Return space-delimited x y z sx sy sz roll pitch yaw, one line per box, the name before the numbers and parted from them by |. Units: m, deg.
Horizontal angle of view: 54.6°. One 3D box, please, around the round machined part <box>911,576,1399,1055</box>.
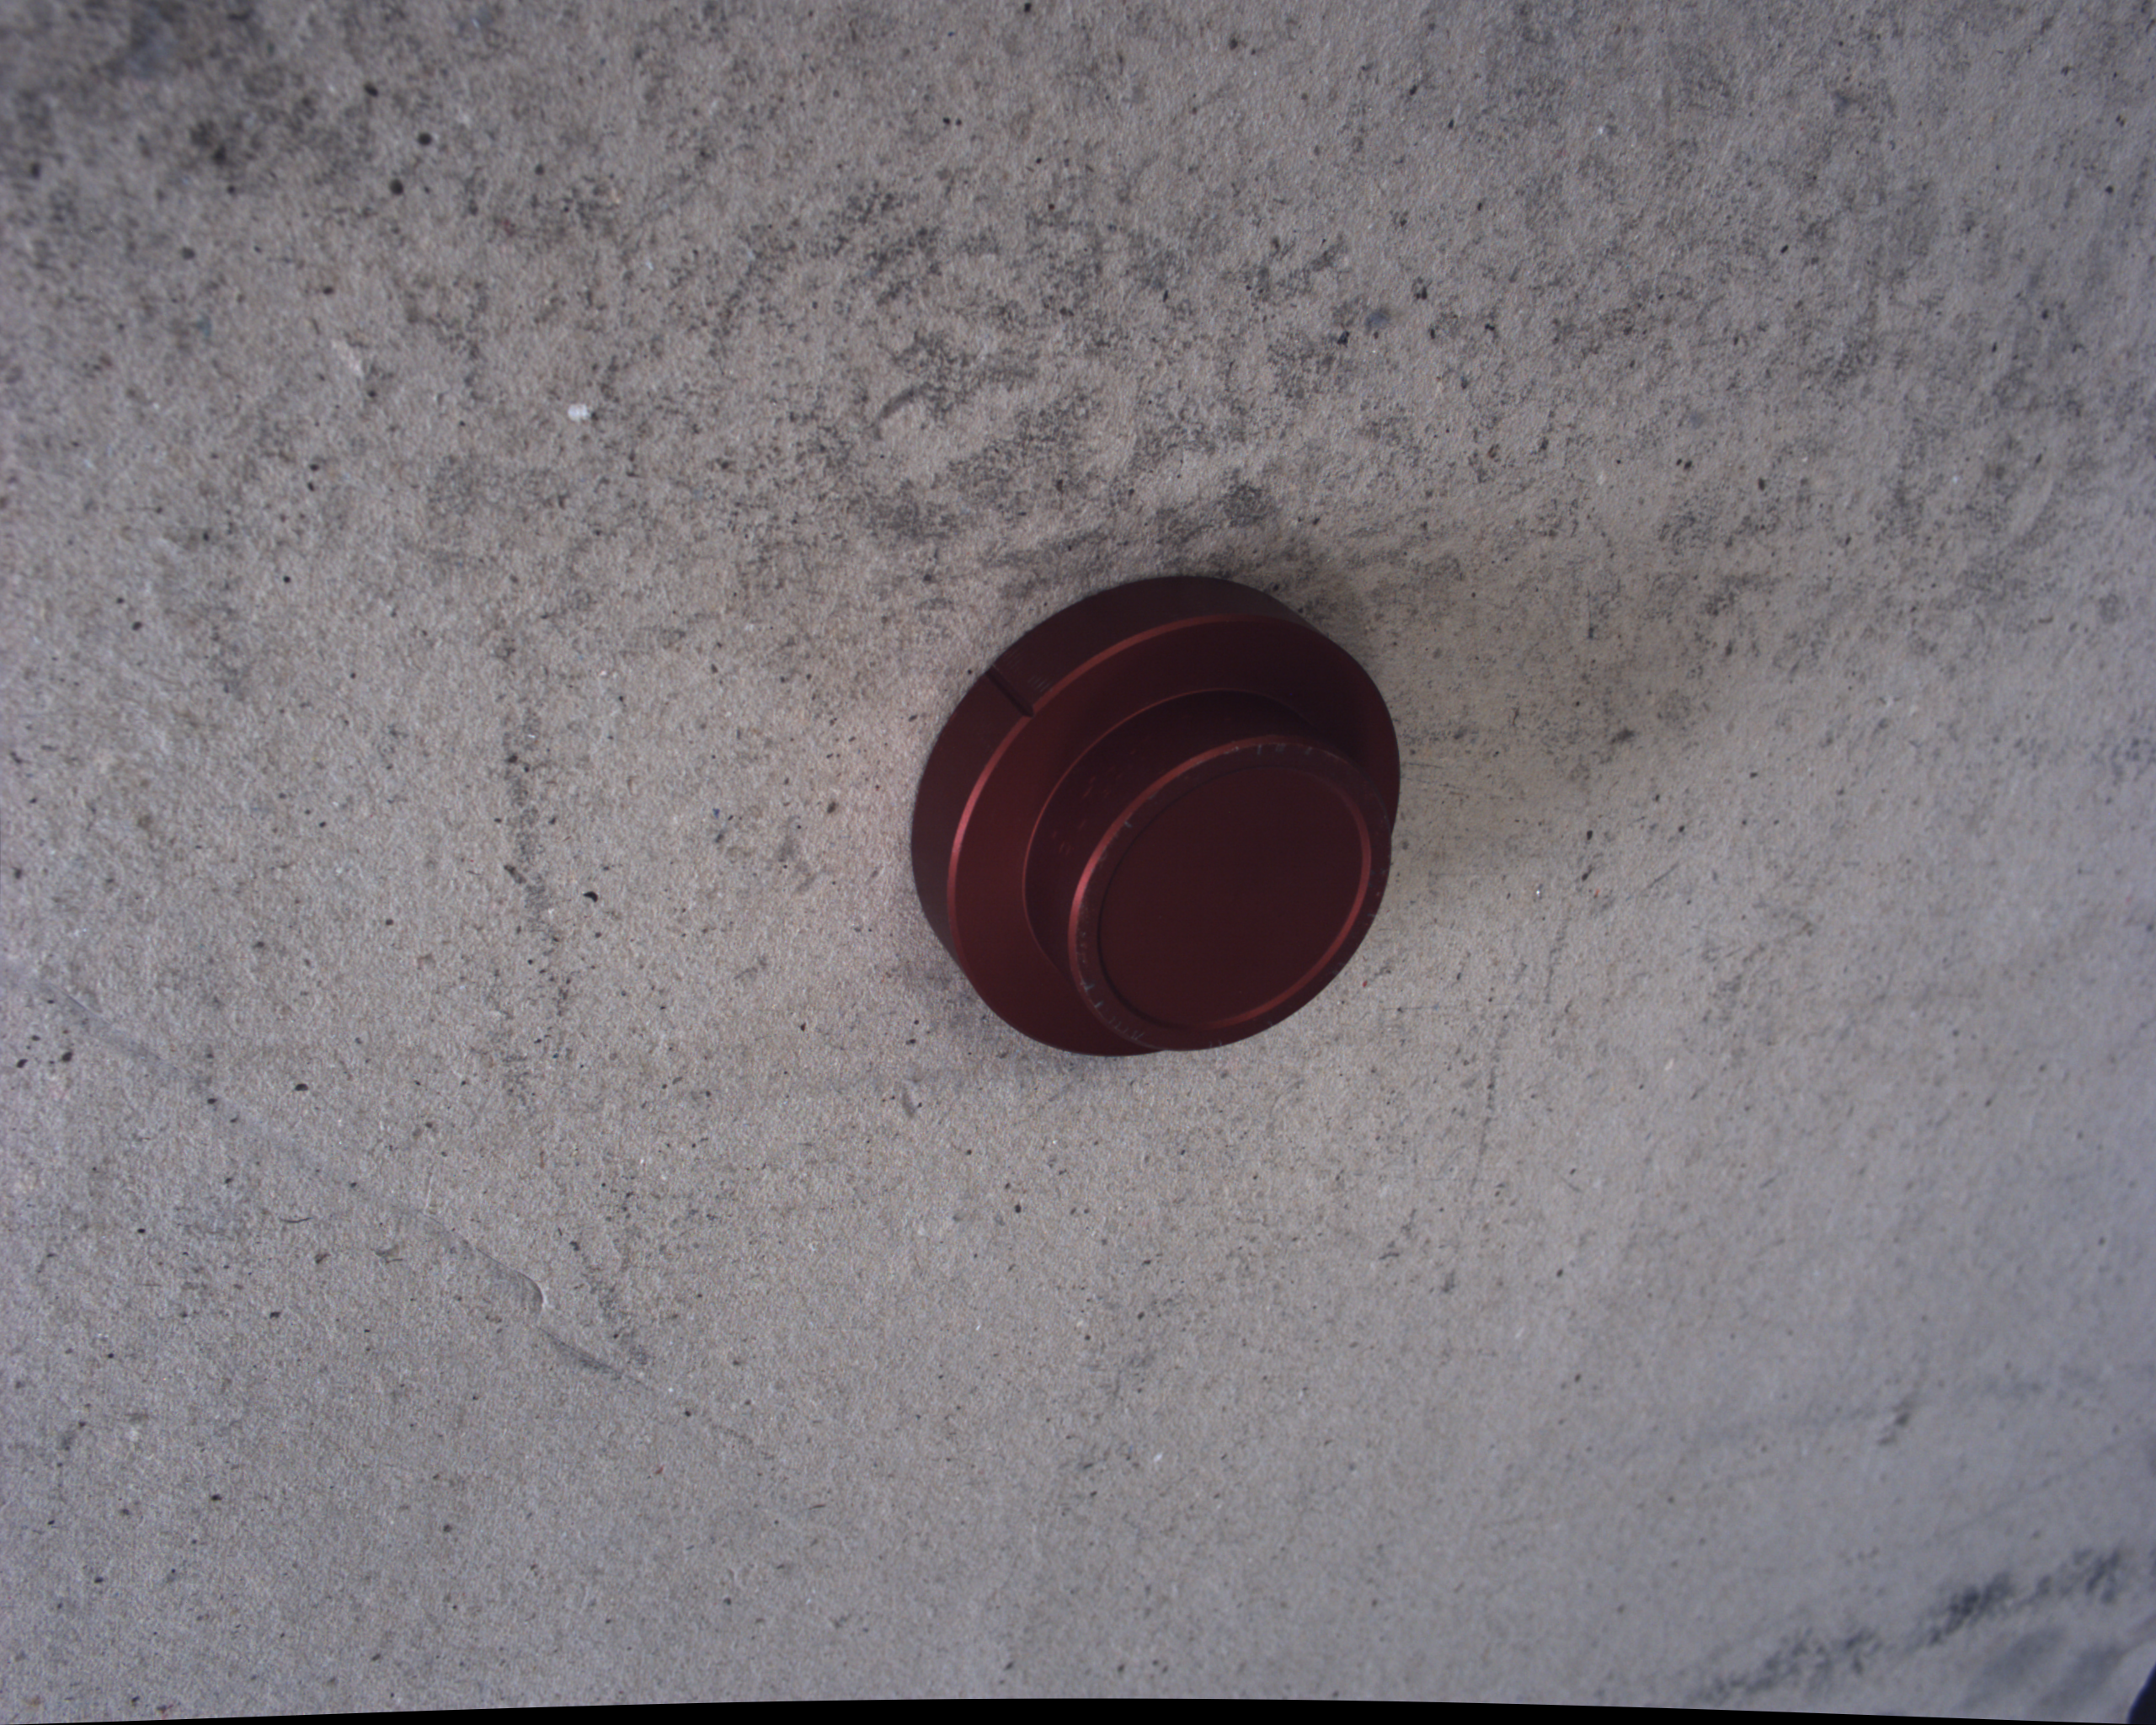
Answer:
round machined part | 0.021 -0.003 0.406 0.099 0.042 0.097 -14 124 -21
